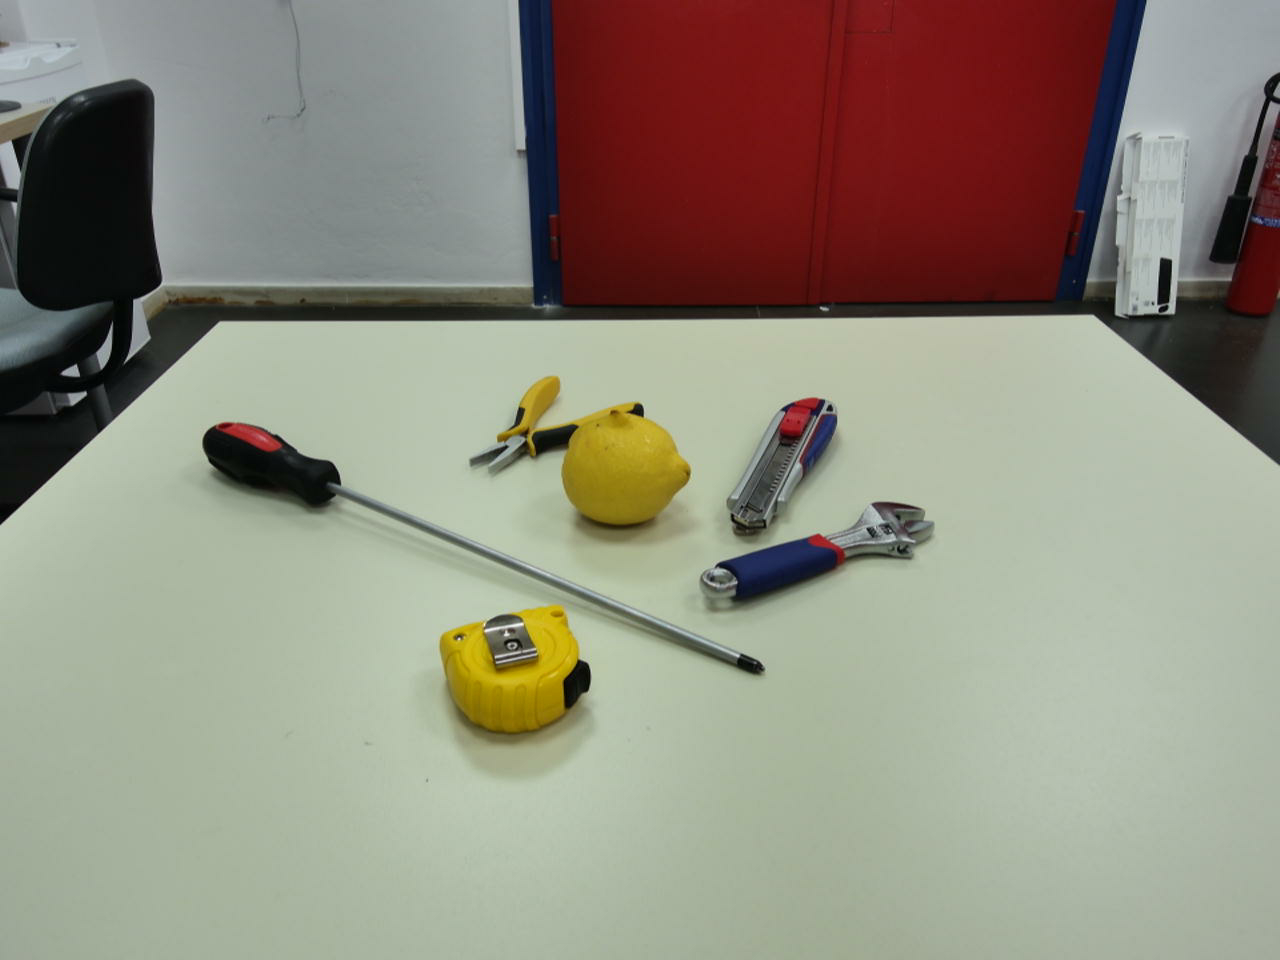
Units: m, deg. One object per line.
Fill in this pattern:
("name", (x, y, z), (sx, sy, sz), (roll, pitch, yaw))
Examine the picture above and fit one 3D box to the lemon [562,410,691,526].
("lemon", (-0.011, -0.010, 0.599), (0.070, 0.071, 0.071), (-18, 31, -30))
